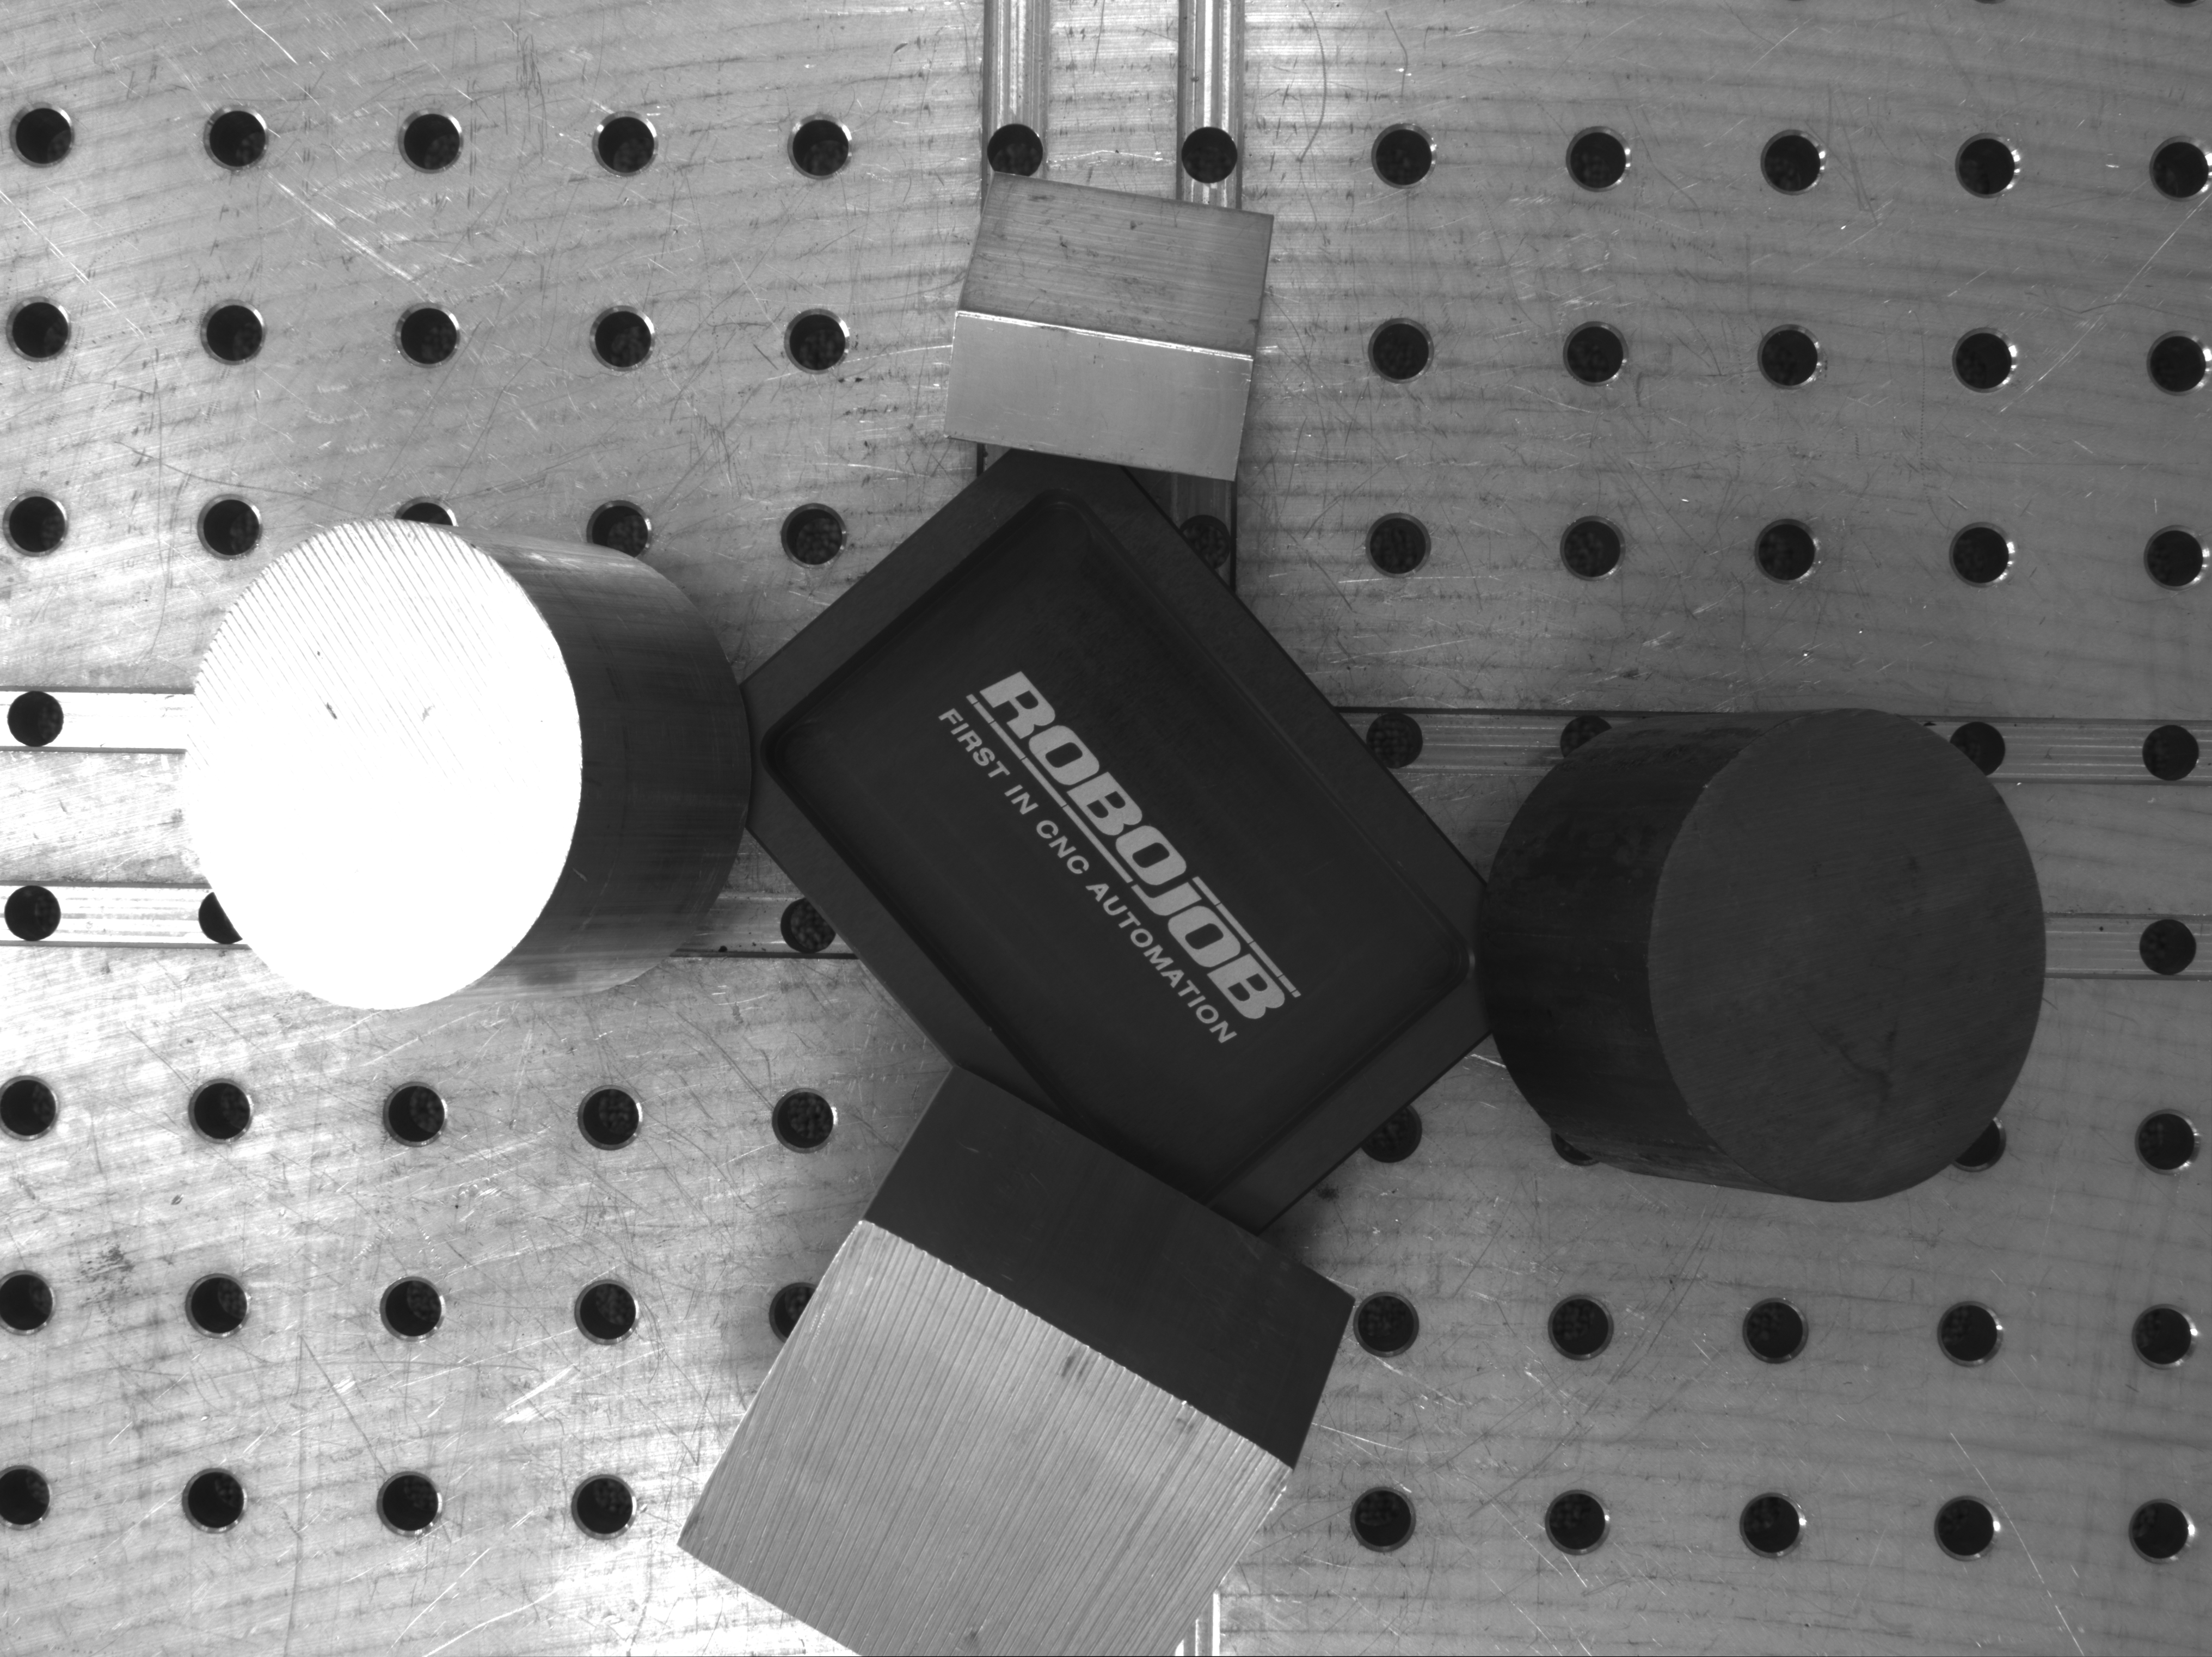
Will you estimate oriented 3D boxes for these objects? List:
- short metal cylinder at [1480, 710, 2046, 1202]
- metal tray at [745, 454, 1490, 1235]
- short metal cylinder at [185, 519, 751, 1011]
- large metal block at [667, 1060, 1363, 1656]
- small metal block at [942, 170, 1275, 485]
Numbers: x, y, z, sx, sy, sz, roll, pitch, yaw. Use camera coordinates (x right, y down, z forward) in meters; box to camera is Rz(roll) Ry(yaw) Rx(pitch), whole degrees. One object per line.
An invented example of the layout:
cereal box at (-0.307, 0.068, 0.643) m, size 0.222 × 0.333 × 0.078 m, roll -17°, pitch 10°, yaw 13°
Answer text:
short metal cylinder at (0.111, 0.021, 0.620) m, size 0.080 × 0.050 × 0.080 m, roll 0°, pitch 90°, yaw -26°
metal tray at (0.003, 0.005, 0.645) m, size 0.090 × 0.030 × 0.130 m, roll -41°, pitch 90°, yaw 0°
short metal cylinder at (-0.107, -0.010, 0.621) m, size 0.080 × 0.050 × 0.080 m, roll 0°, pitch 90°, yaw 26°
large metal block at (-0.015, 0.100, 0.618) m, size 0.080 × 0.050 × 0.080 m, roll 31°, pitch 120°, yaw 0°
small metal block at (0.001, -0.087, 0.633) m, size 0.050 × 0.050 × 0.025 m, roll 9°, pitch 128°, yaw 0°
